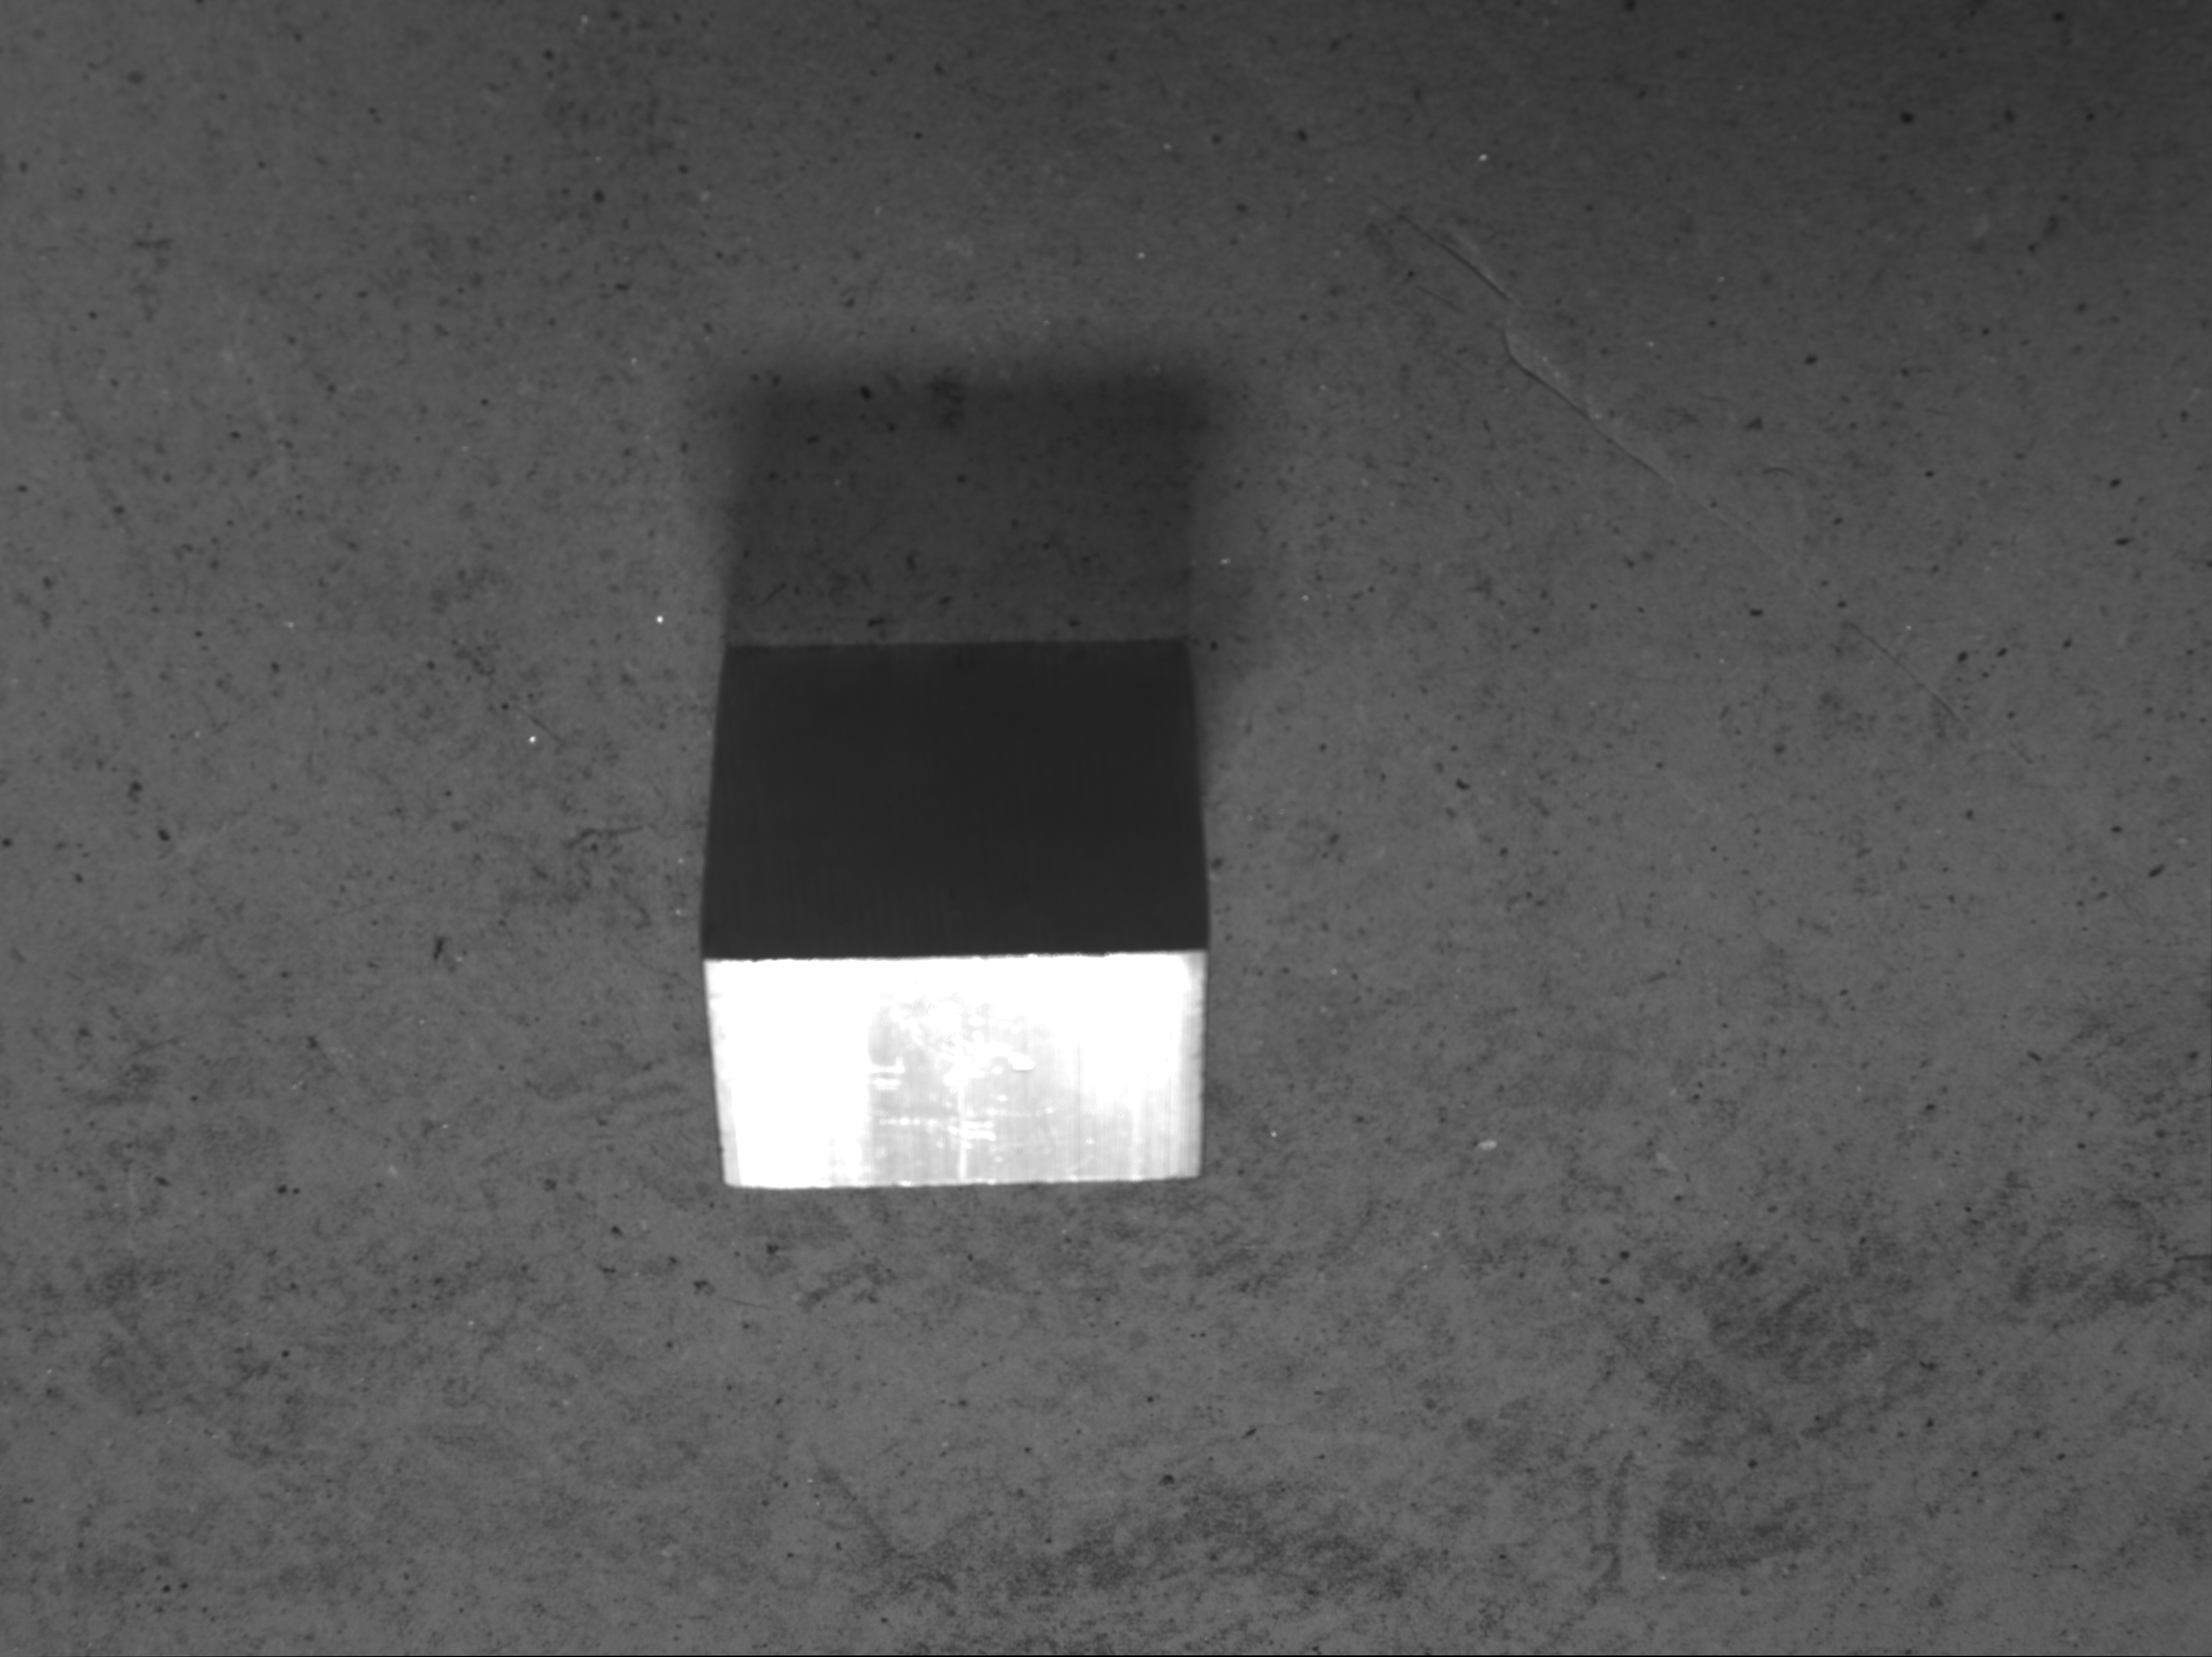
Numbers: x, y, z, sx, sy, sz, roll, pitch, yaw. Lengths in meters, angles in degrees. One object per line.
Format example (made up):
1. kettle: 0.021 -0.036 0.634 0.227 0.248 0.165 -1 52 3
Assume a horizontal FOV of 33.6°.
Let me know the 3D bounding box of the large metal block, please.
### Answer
1. large metal block: -0.016 0.014 0.614 0.080 0.080 0.050 -1 130 -1
